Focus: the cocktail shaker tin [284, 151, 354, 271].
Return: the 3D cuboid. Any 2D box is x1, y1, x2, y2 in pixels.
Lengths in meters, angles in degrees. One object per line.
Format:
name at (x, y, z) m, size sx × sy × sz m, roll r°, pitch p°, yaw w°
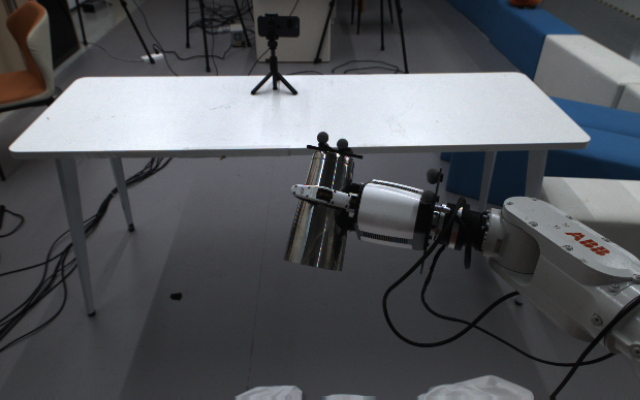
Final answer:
cocktail shaker tin at (0.006, 0.016, 0.741) m, size 0.093 × 0.170 × 0.093 m, roll 11°, pitch -5°, yaw 1°
